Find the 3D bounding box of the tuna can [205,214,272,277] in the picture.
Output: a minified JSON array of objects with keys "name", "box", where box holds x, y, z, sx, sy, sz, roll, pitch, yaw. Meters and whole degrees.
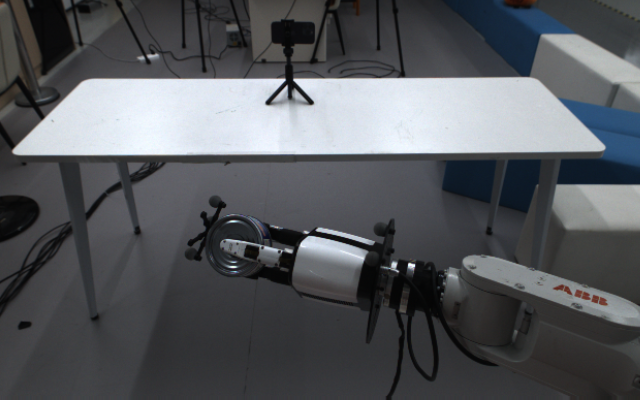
[{"name":"tuna can","box":[-0.106,0.067,0.650,0.085,0.085,0.034,12,-4,14]}]
